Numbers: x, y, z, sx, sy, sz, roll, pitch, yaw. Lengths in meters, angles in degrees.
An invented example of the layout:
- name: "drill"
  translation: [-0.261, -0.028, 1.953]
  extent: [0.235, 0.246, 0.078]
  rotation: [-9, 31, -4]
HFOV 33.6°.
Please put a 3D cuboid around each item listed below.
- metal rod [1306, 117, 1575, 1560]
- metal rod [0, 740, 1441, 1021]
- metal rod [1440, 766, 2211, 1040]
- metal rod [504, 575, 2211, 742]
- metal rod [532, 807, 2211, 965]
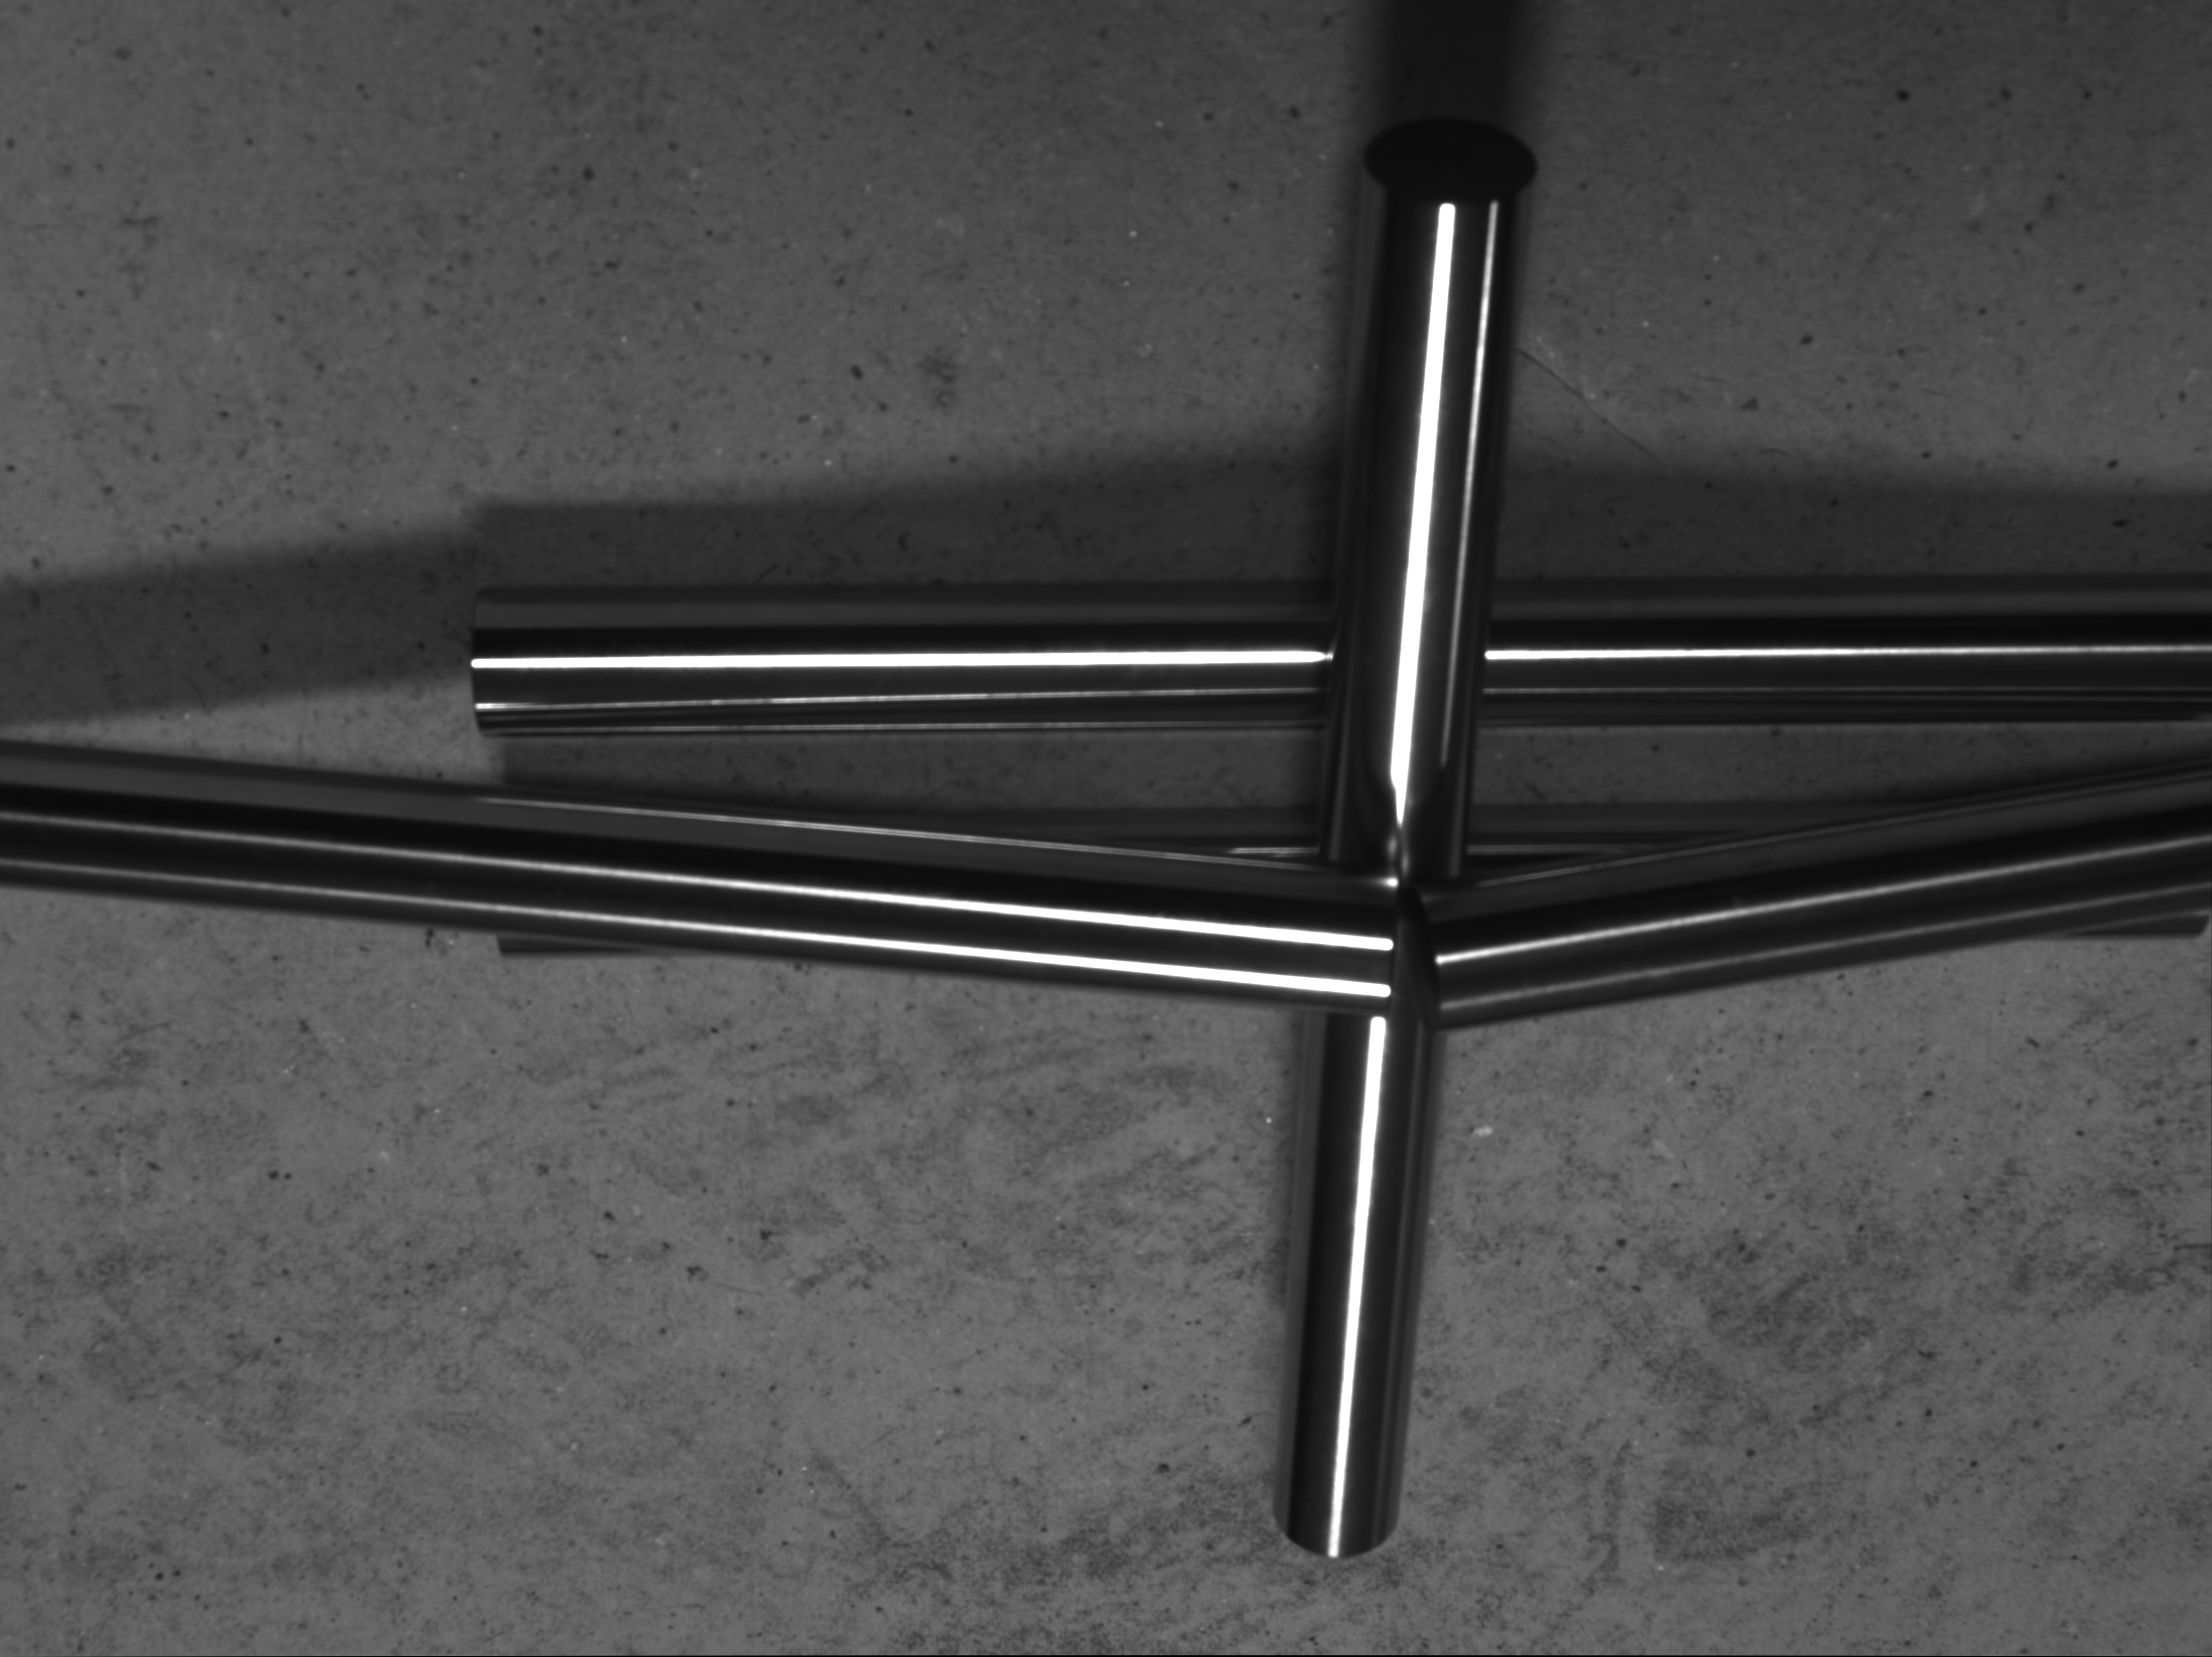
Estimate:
- name: "metal rod"
  translation: [0.053, 0.019, 0.623]
  extent: [0.025, 0.025, 0.300]
  rotation: [0, 130, -1]
- name: "metal rod"
  translation: [-0.095, 0.006, 0.607]
  extent: [0.300, 0.025, 0.025]
  rotation: [5, 130, 6]
- name: "metal rod"
  translation: [0.203, -0.001, 0.612]
  extent: [0.300, 0.025, 0.025]
  rotation: [-9, 130, -8]
- name: "metal rod"
  translation: [0.051, -0.029, 0.615]
  extent: [0.300, 0.025, 0.025]
  rotation: [-1, 130, -1]
- name: "metal rod"
  translation: [0.050, 0.010, 0.648]
  extent: [0.300, 0.025, 0.025]
  rotation: [-1, 130, -1]
